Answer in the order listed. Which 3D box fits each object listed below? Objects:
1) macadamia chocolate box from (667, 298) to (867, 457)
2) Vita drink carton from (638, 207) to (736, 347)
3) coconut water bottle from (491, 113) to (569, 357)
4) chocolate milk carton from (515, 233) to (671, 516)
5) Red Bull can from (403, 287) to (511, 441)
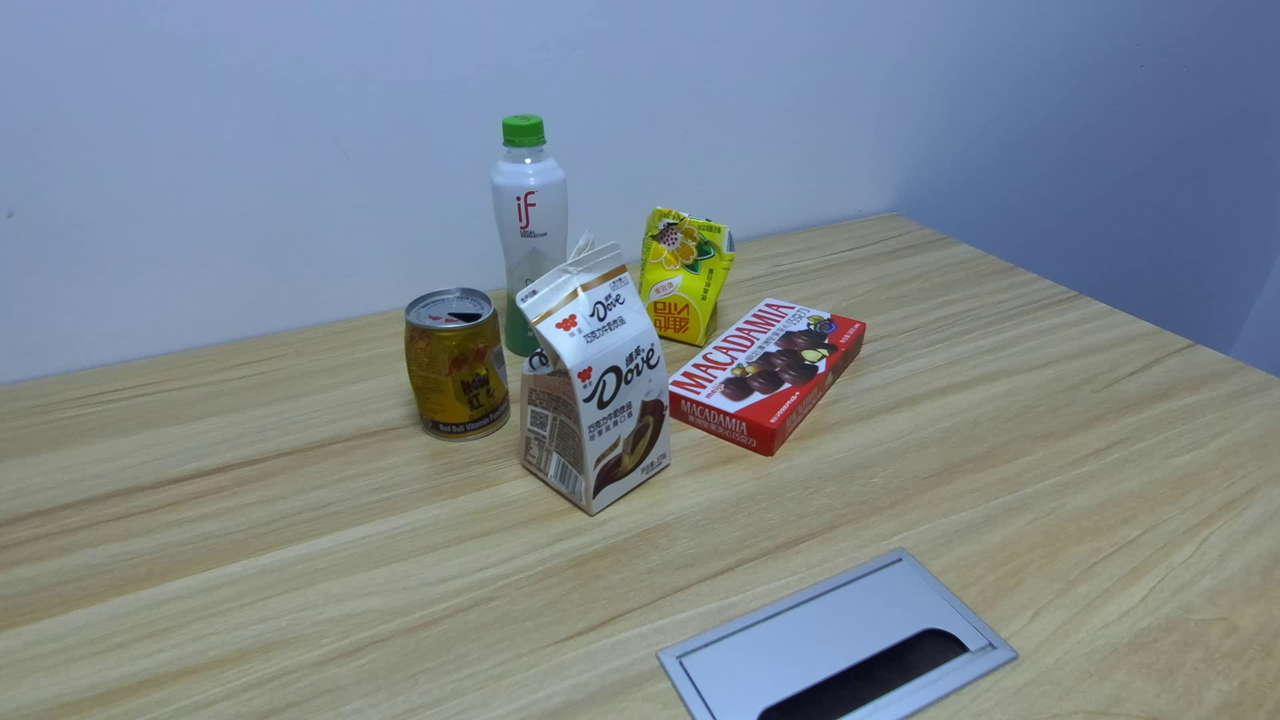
[{"bbox_3d":[0.102,0.005,0.557,0.095,0.027,0.178,20,37,30],"label":"macadamia chocolate box"},{"bbox_3d":[0.038,-0.074,0.611,0.087,0.108,0.042,16,21,19],"label":"Vita drink carton"},{"bbox_3d":[-0.085,-0.096,0.571,0.063,0.189,0.063,-1,28,1],"label":"coconut water bottle"},{"bbox_3d":[-0.031,0.004,0.437,0.076,0.156,0.073,-27,38,-37],"label":"chocolate milk carton"},{"bbox_3d":[-0.129,0.003,0.503,0.072,0.092,0.072,0,31,0],"label":"Red Bull can"}]
